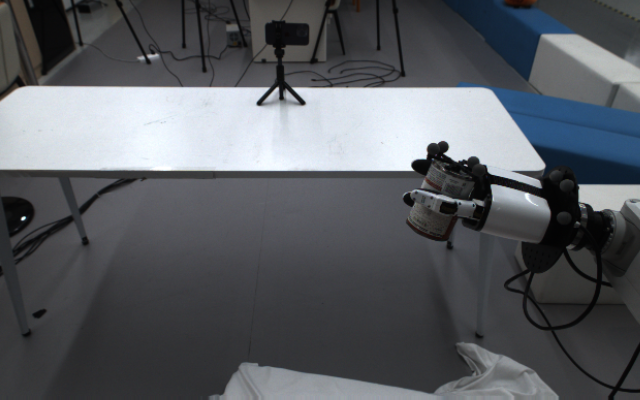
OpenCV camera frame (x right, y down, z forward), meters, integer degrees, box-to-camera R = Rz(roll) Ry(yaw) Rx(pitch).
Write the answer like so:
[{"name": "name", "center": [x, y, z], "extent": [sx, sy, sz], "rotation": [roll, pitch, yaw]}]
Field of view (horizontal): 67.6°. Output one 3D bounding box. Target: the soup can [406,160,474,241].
[{"name": "soup can", "center": [0.176, -0.001, 0.700], "extent": [0.067, 0.101, 0.067], "rotation": [17, 21, -7]}]
